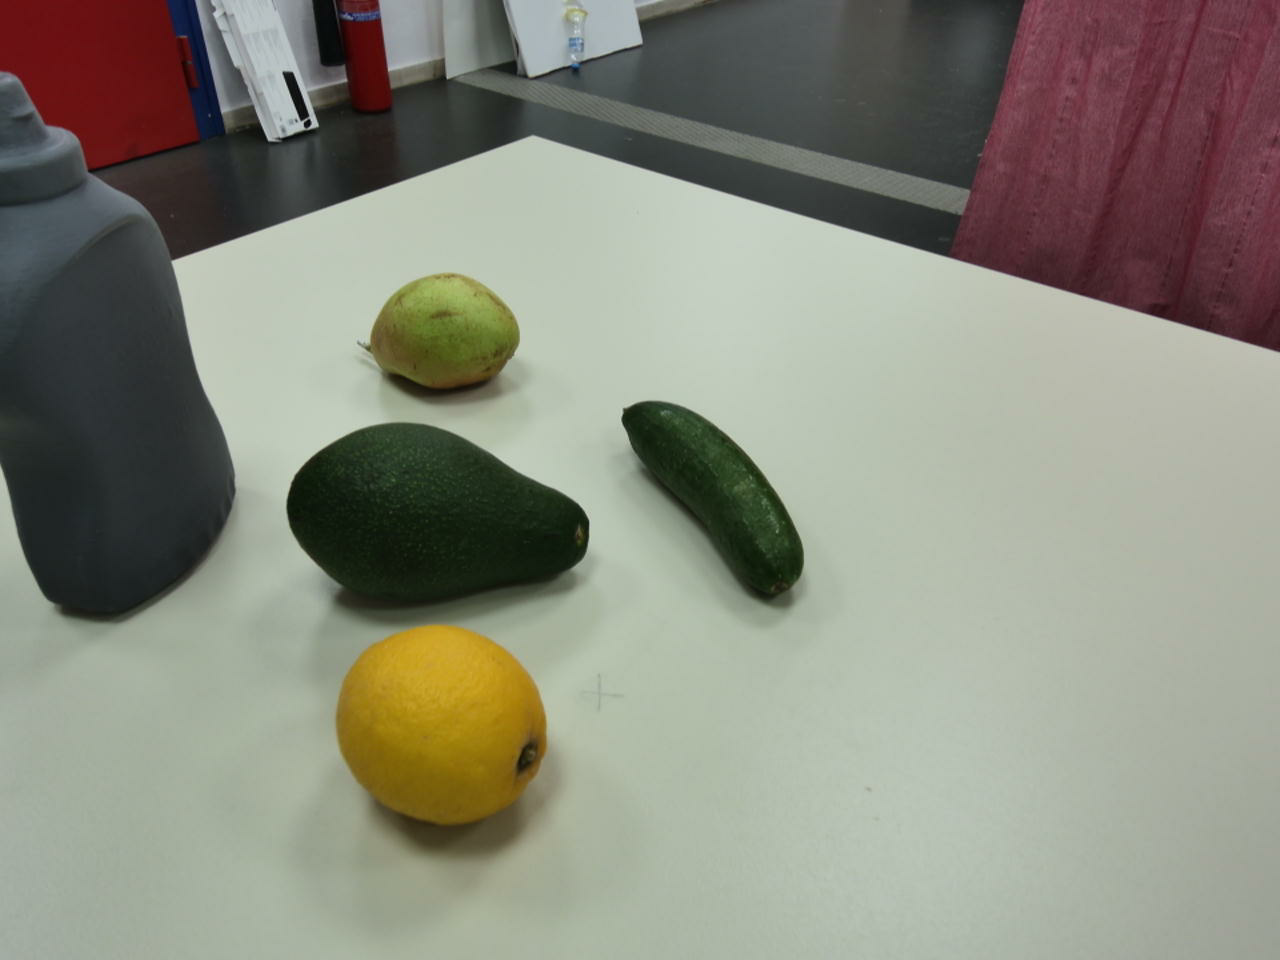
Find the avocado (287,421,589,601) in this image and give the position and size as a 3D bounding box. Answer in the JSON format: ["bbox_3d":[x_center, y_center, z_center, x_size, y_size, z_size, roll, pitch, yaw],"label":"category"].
[{"bbox_3d":[-0.079,0.014,0.391,0.110,0.071,0.072,10,36,11],"label":"avocado"}]
